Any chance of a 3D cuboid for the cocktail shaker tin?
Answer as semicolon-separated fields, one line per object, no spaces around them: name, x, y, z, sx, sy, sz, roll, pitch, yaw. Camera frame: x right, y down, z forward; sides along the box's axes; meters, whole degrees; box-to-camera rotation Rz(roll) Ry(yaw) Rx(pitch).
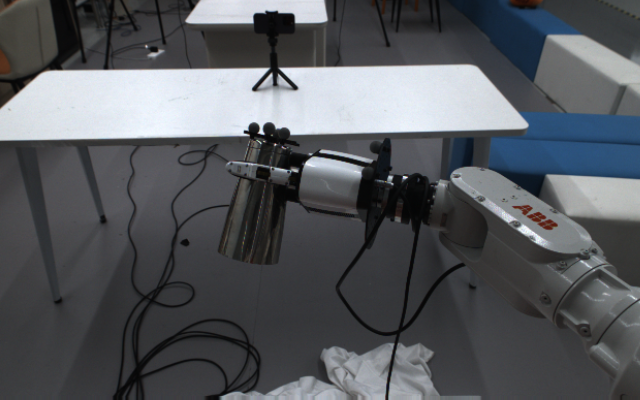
cocktail shaker tin;-0.089;-0.002;0.717;0.093;0.170;0.093;13;3;-1
